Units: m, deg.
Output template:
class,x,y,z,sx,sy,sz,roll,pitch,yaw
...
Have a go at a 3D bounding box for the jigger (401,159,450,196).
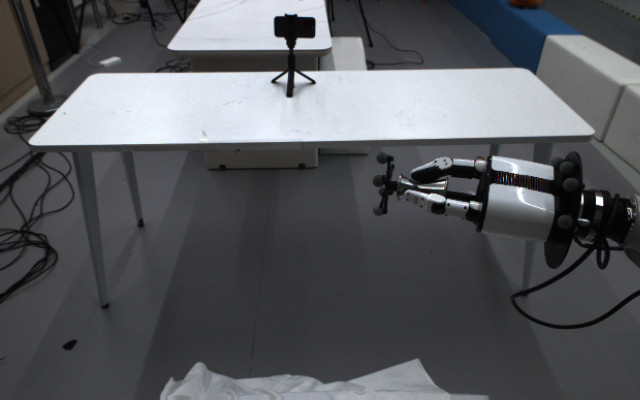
class,x,y,z,sx,sy,sz,roll,pitch,yaw
jigger,0.154,-0.018,0.698,0.071,0.043,0.043,8,35,16
